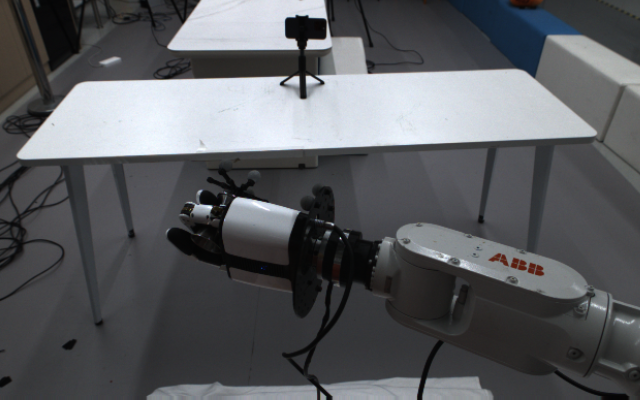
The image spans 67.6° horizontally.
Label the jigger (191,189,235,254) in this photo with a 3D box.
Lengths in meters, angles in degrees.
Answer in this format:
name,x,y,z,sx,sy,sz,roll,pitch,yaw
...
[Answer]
name,x,y,z,sx,sy,sz,roll,pitch,yaw
jigger,-0.127,0.027,0.612,0.043,0.043,0.071,15,58,18
